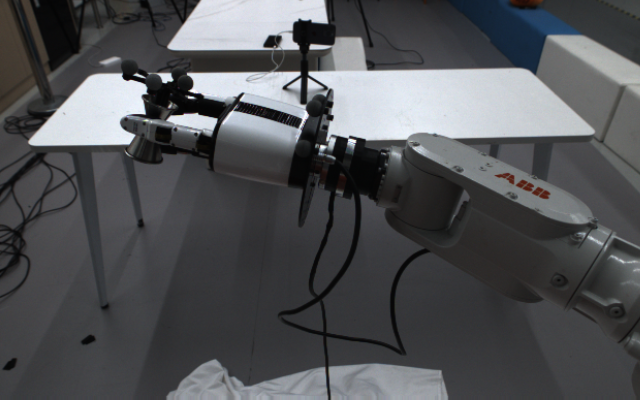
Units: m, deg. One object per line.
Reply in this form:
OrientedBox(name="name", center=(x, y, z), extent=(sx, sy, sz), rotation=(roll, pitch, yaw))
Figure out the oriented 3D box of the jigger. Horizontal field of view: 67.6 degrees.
OrientedBox(name="jigger", center=(-0.190, -0.080, 0.548), extent=(0.043, 0.071, 0.043), rotation=(22, 19, -8))
